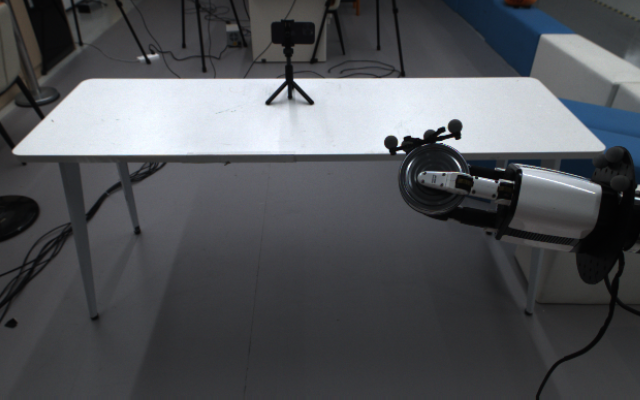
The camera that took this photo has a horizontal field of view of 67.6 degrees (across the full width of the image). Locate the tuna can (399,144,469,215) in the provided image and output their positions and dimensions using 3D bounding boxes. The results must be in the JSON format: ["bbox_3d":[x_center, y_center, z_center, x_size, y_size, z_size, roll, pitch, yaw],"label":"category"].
[{"bbox_3d":[0.143,-0.020,0.589,0.085,0.085,0.034,12,-6,14],"label":"tuna can"}]
